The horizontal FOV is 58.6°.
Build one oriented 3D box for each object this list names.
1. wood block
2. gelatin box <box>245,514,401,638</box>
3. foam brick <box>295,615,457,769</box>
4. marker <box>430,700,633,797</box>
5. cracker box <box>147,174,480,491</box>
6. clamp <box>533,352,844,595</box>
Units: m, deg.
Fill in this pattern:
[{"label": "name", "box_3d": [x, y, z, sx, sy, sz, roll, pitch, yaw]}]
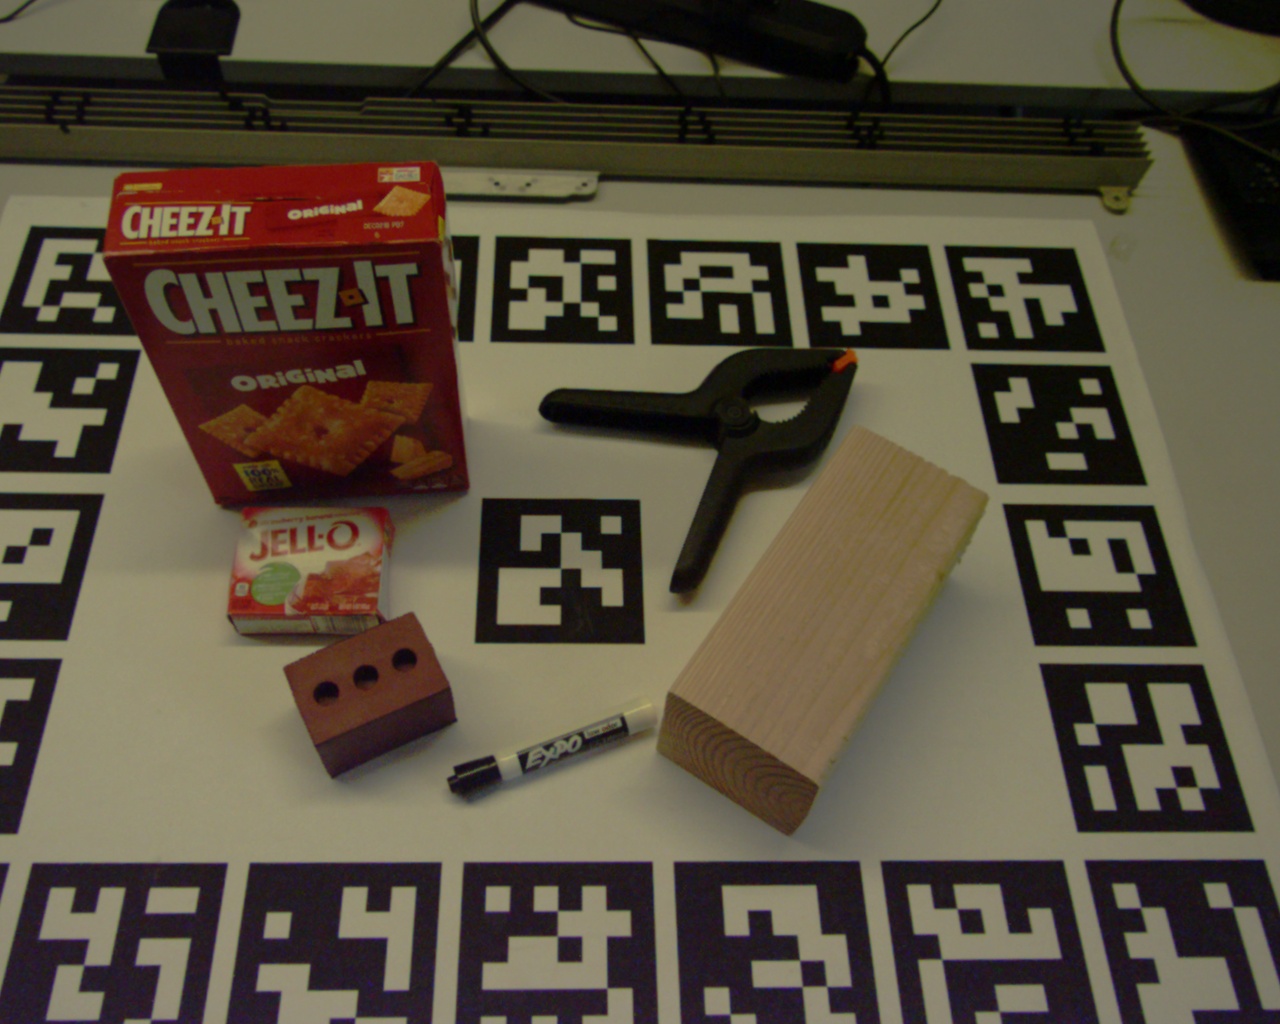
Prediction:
[{"label": "wood block", "box_3d": [0.099, 0.066, 0.676, 0.090, 0.091, 0.205, 30, 61, 16]}, {"label": "gelatin box", "box_3d": [-0.196, 0.039, 0.712, 0.089, 0.030, 0.073, -1, 62, -3]}, {"label": "foam brick", "box_3d": [-0.152, 0.104, 0.661, 0.077, 0.051, 0.053, -22, 66, -15]}, {"label": "marker", "box_3d": [-0.063, 0.138, 0.663, 0.120, 0.019, 0.020, -18, 65, -12]}, {"label": "cracker box", "box_3d": [-0.179, -0.097, 0.677, 0.164, 0.213, 0.072, -2, 59, -7]}, {"label": "clamp", "box_3d": [0.054, -0.053, 0.769, 0.201, 0.036, 0.167, -28, 66, -17]}]
